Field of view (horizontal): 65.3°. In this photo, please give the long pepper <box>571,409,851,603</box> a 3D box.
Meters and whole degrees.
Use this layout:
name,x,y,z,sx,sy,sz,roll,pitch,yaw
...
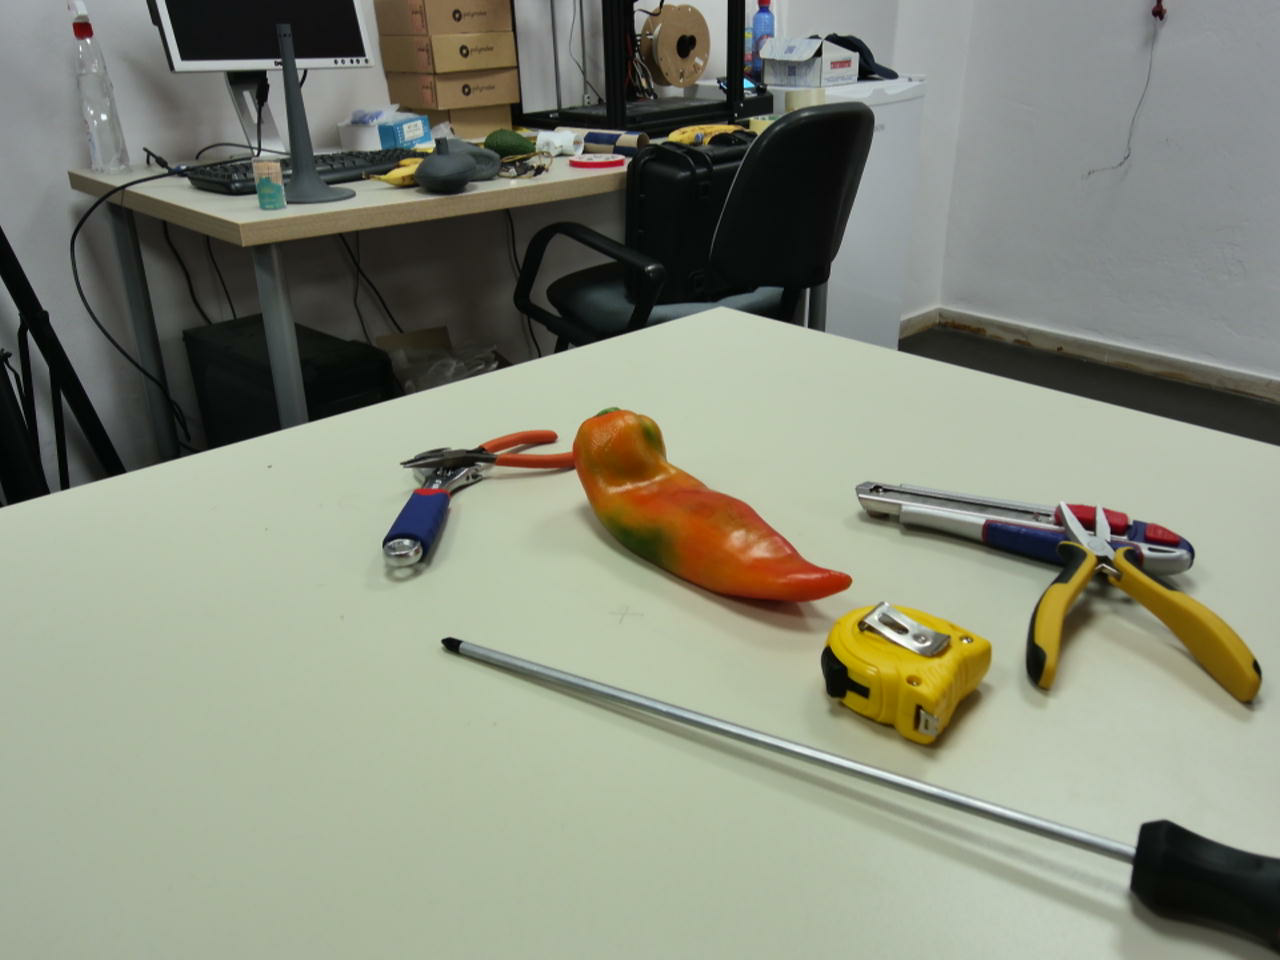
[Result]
name,x,y,z,sx,sy,sz,roll,pitch,yaw
long pepper,0.032,0.014,0.539,0.066,0.065,0.199,-16,28,-33
